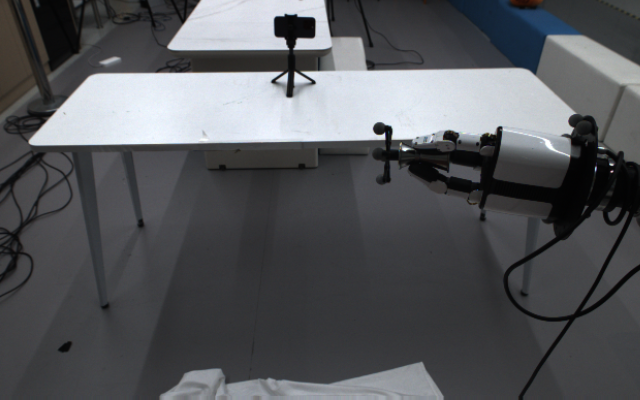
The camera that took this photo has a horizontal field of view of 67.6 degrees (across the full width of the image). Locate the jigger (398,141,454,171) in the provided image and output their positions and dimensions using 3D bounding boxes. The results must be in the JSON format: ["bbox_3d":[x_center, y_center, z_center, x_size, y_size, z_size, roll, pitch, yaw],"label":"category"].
[{"bbox_3d":[0.152,-0.065,0.674,0.071,0.043,0.043,3,34,14],"label":"jigger"}]
